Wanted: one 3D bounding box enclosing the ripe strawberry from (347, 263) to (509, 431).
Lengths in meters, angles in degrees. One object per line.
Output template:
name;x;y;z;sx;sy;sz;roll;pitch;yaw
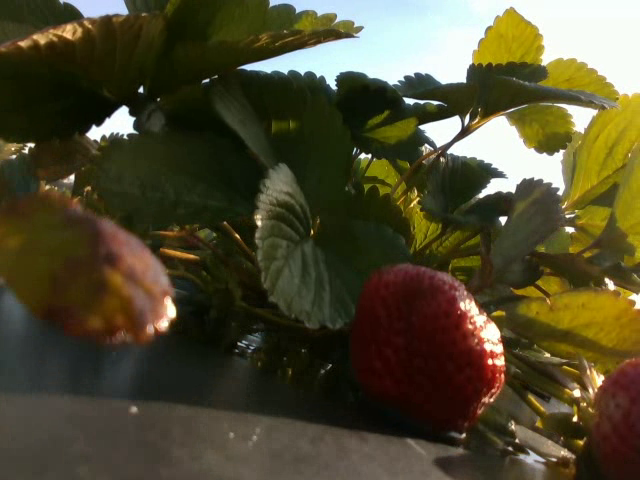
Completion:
ripe strawberry;0.030;0.027;0.160;0.039;0.054;0.048;-28;47;-5
